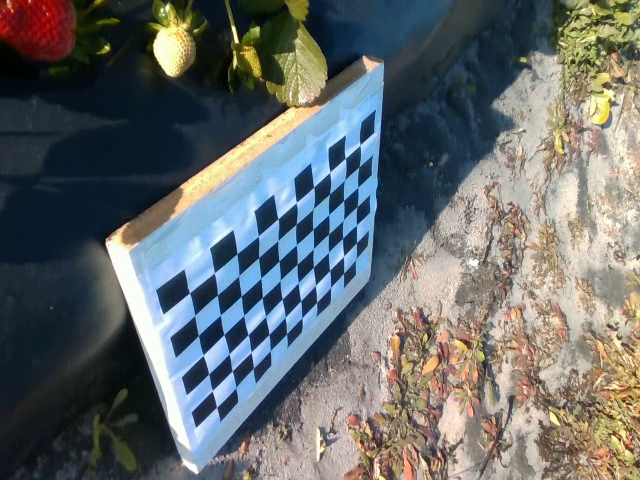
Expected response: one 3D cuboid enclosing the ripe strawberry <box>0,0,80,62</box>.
[{"bbox_3d":[-0.129,-0.099,0.277,0.036,0.044,0.053,24,21,18],"label":"ripe strawberry"}]
